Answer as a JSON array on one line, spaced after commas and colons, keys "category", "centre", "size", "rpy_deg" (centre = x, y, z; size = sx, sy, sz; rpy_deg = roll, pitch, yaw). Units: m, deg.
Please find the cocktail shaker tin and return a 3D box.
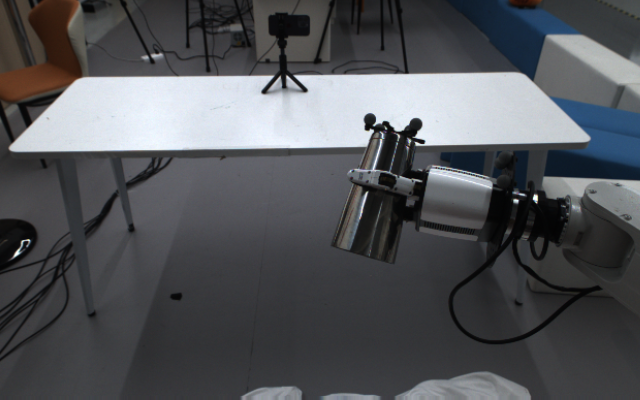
[{"category": "cocktail shaker tin", "centre": [0.080, -0.006, 0.678], "size": [0.093, 0.170, 0.093], "rpy_deg": [16, -6, 2]}]
